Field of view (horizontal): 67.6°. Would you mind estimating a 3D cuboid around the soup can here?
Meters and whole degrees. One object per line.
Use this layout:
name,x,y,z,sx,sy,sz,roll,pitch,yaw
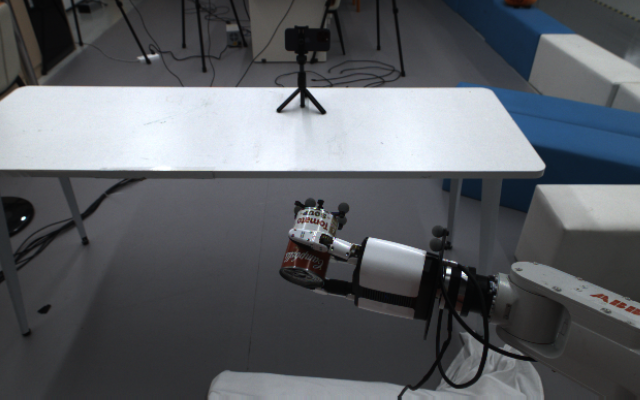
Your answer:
soup can,-0.013,0.069,0.717,0.067,0.067,0.101,9,61,10
